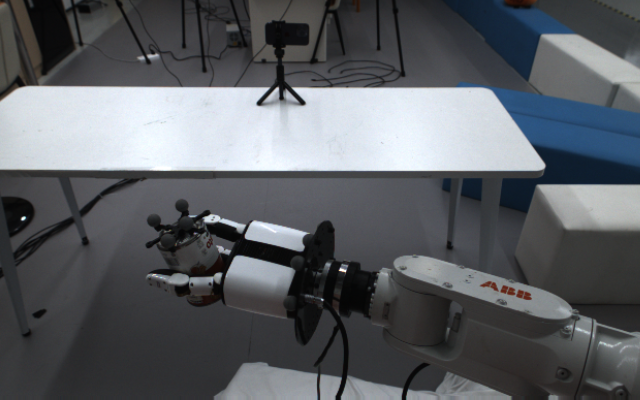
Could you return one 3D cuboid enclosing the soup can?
[{"bbox_3d":[-0.164,0.084,0.645,0.067,0.101,0.067,-13,31,8],"label":"soup can"}]
